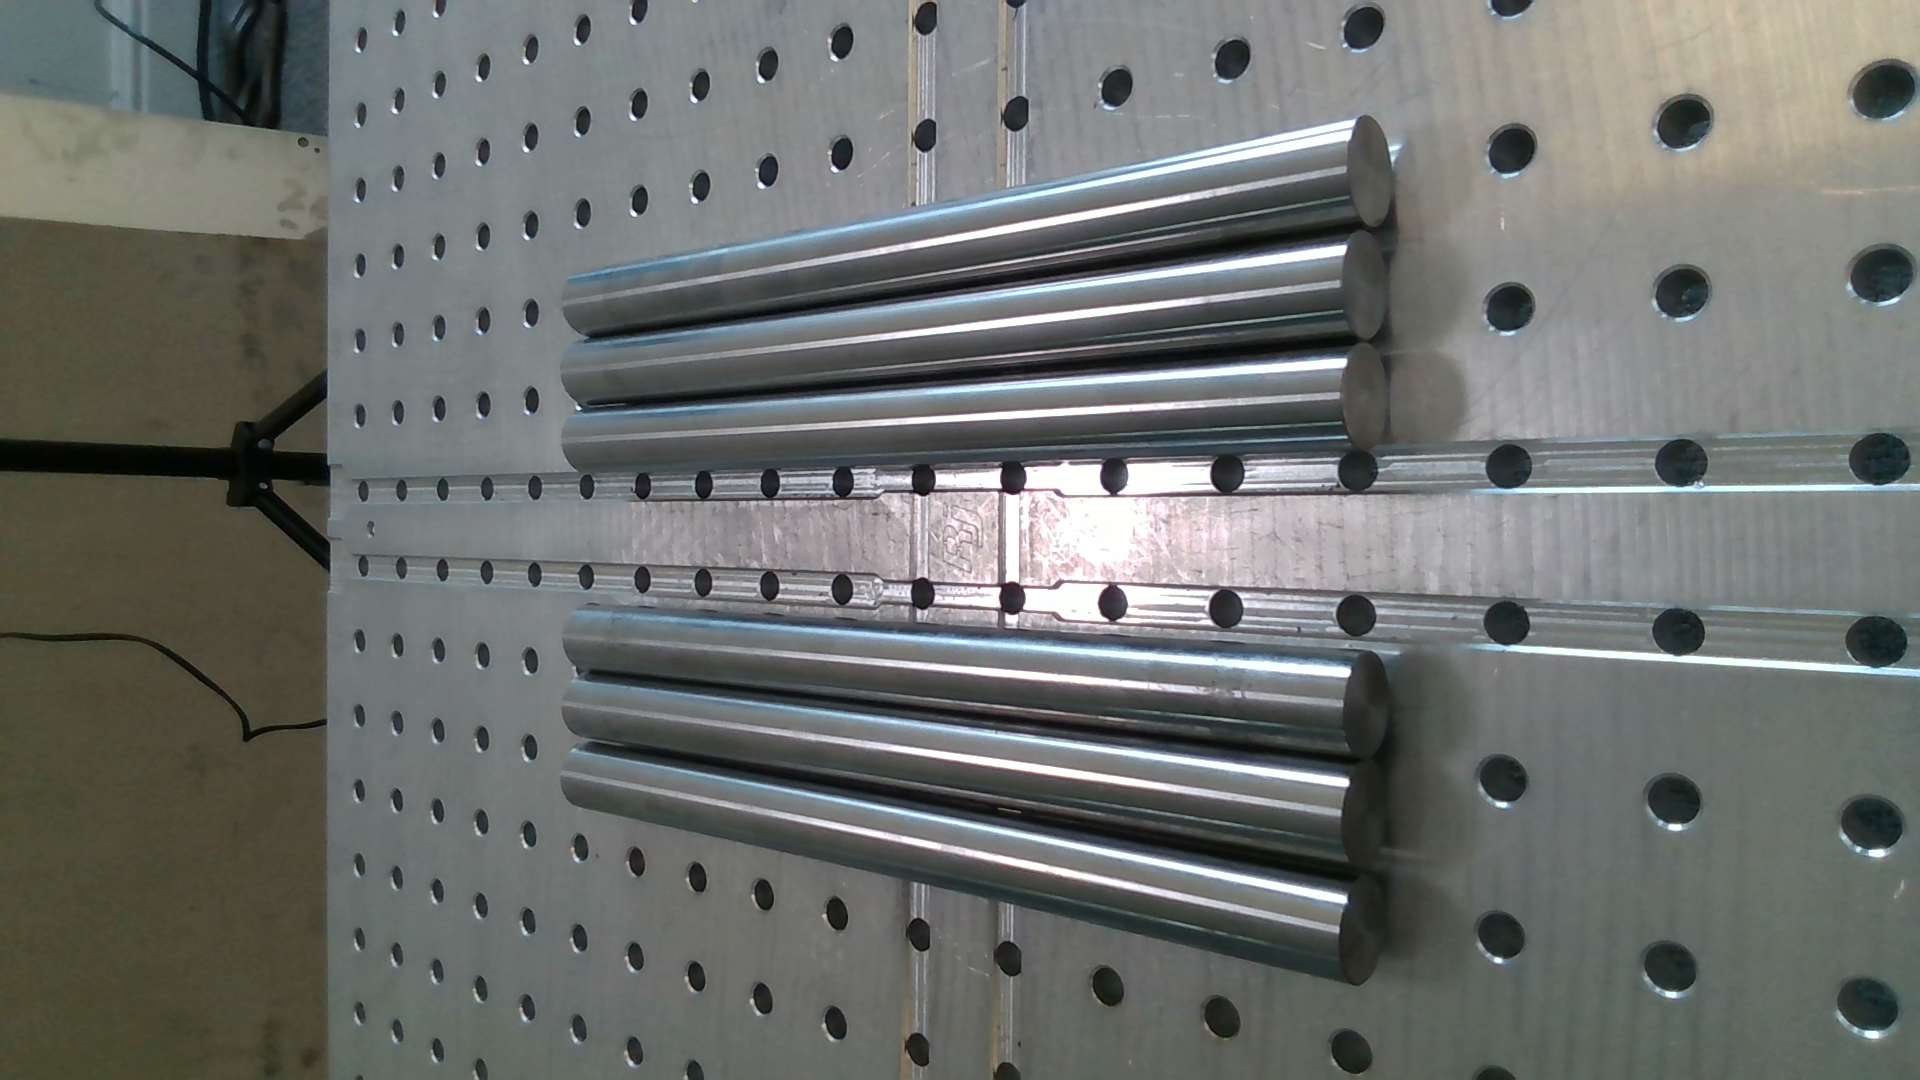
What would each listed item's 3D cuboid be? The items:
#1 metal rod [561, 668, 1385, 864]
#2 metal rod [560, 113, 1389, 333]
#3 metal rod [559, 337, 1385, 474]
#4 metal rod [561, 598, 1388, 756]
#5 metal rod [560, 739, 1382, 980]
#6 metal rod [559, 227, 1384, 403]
[{"bbox_3d":[-0.022,0.060,0.412,0.300,0.025,0.025,1,91,40],"label":"metal rod"},{"bbox_3d":[-0.022,-0.086,0.410,0.300,0.025,0.025,1,91,40],"label":"metal rod"},{"bbox_3d":[-0.023,-0.035,0.411,0.300,0.025,0.025,1,91,40],"label":"metal rod"},{"bbox_3d":[-0.022,0.035,0.412,0.300,0.025,0.025,1,91,40],"label":"metal rod"},{"bbox_3d":[-0.023,0.087,0.413,0.300,0.025,0.025,1,91,40],"label":"metal rod"},{"bbox_3d":[-0.023,-0.060,0.411,0.300,0.025,0.025,1,91,40],"label":"metal rod"}]
